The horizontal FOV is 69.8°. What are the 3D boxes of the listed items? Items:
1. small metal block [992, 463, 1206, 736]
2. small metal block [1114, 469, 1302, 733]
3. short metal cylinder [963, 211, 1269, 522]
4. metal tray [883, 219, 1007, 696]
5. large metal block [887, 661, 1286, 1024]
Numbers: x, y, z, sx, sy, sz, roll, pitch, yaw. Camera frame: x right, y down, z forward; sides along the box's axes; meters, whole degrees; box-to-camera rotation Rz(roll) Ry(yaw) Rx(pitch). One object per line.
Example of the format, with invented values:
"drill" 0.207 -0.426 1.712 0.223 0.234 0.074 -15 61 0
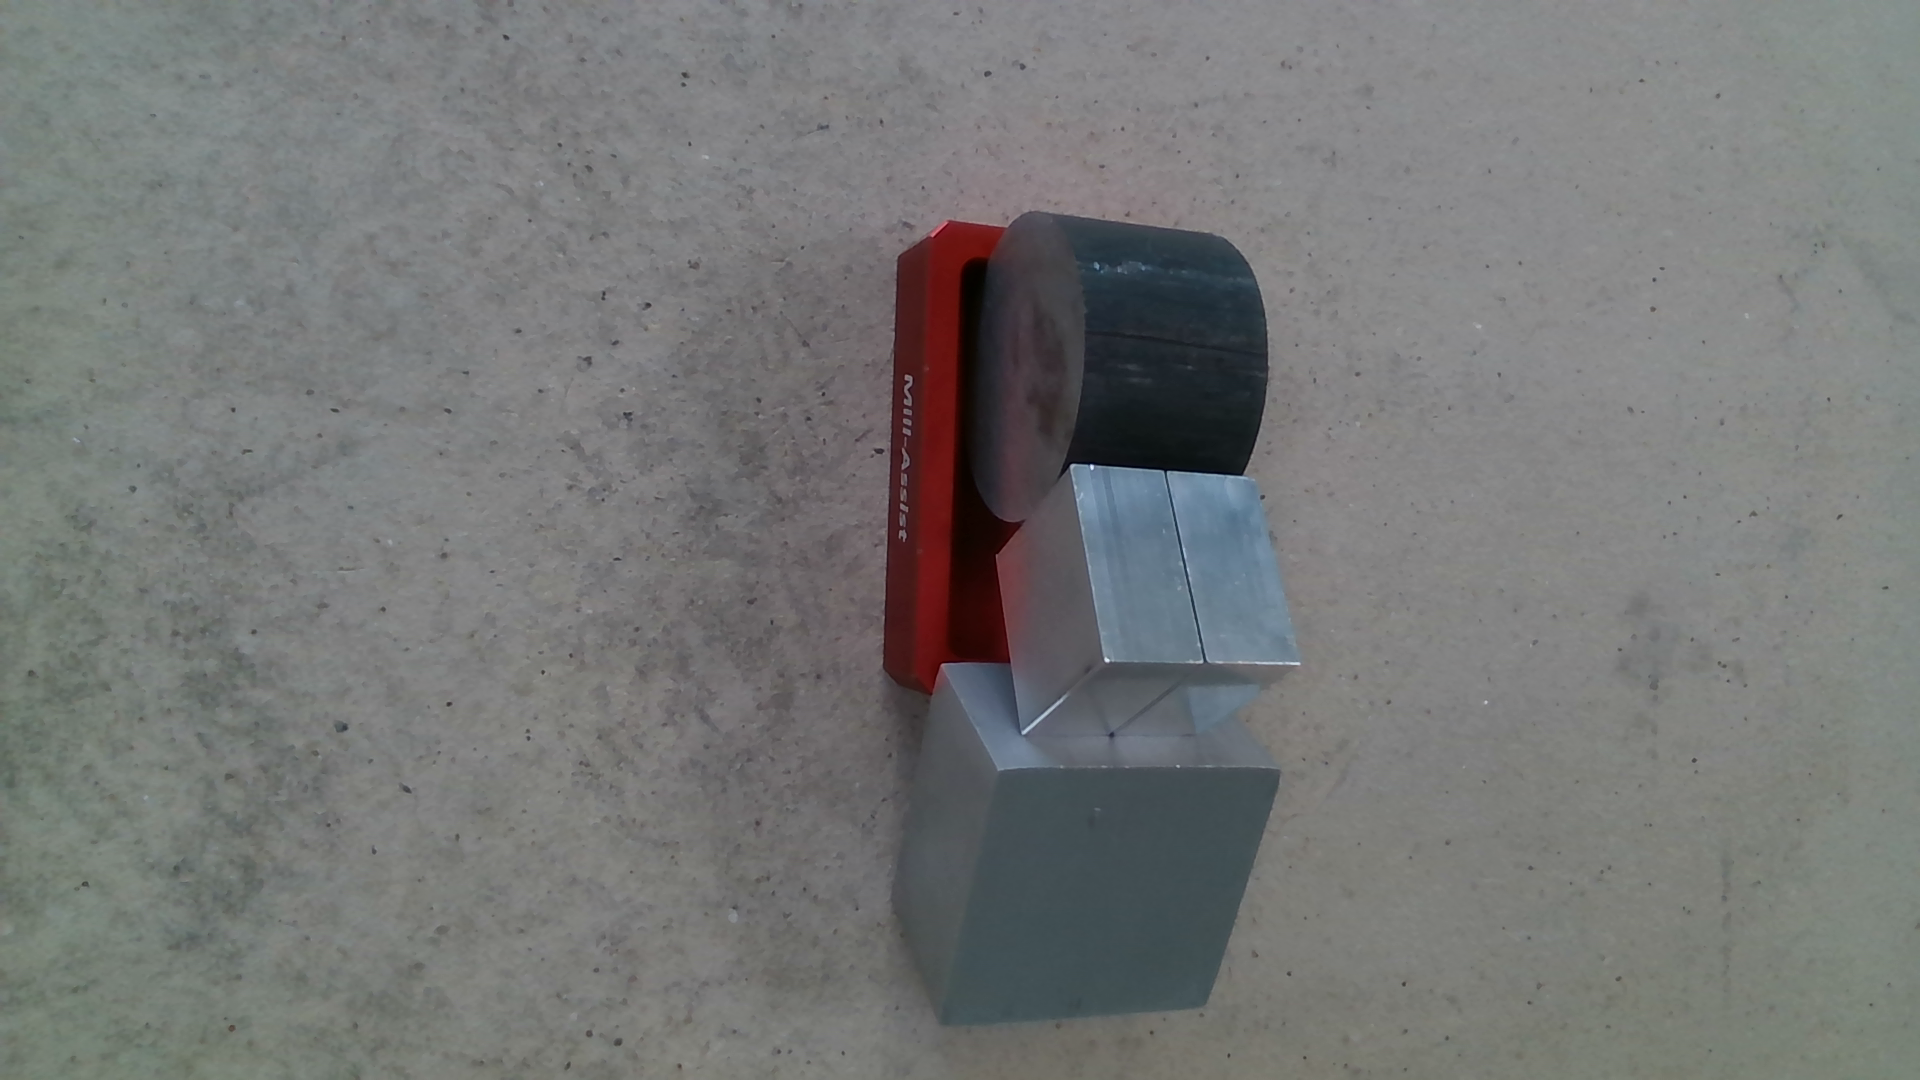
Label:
"small metal block" 0.032 0.016 0.336 0.025 0.050 0.050 2 63 -22
"small metal block" 0.056 0.017 0.346 0.025 0.050 0.050 2 63 -22
"short metal cylinder" 0.038 -0.044 0.365 0.050 0.080 0.080 1 90 -20
"metal tray" 0.027 -0.021 0.401 0.090 0.030 0.130 2 89 -20
"large metal block" 0.031 0.081 0.377 0.080 0.050 0.080 3 115 -20
